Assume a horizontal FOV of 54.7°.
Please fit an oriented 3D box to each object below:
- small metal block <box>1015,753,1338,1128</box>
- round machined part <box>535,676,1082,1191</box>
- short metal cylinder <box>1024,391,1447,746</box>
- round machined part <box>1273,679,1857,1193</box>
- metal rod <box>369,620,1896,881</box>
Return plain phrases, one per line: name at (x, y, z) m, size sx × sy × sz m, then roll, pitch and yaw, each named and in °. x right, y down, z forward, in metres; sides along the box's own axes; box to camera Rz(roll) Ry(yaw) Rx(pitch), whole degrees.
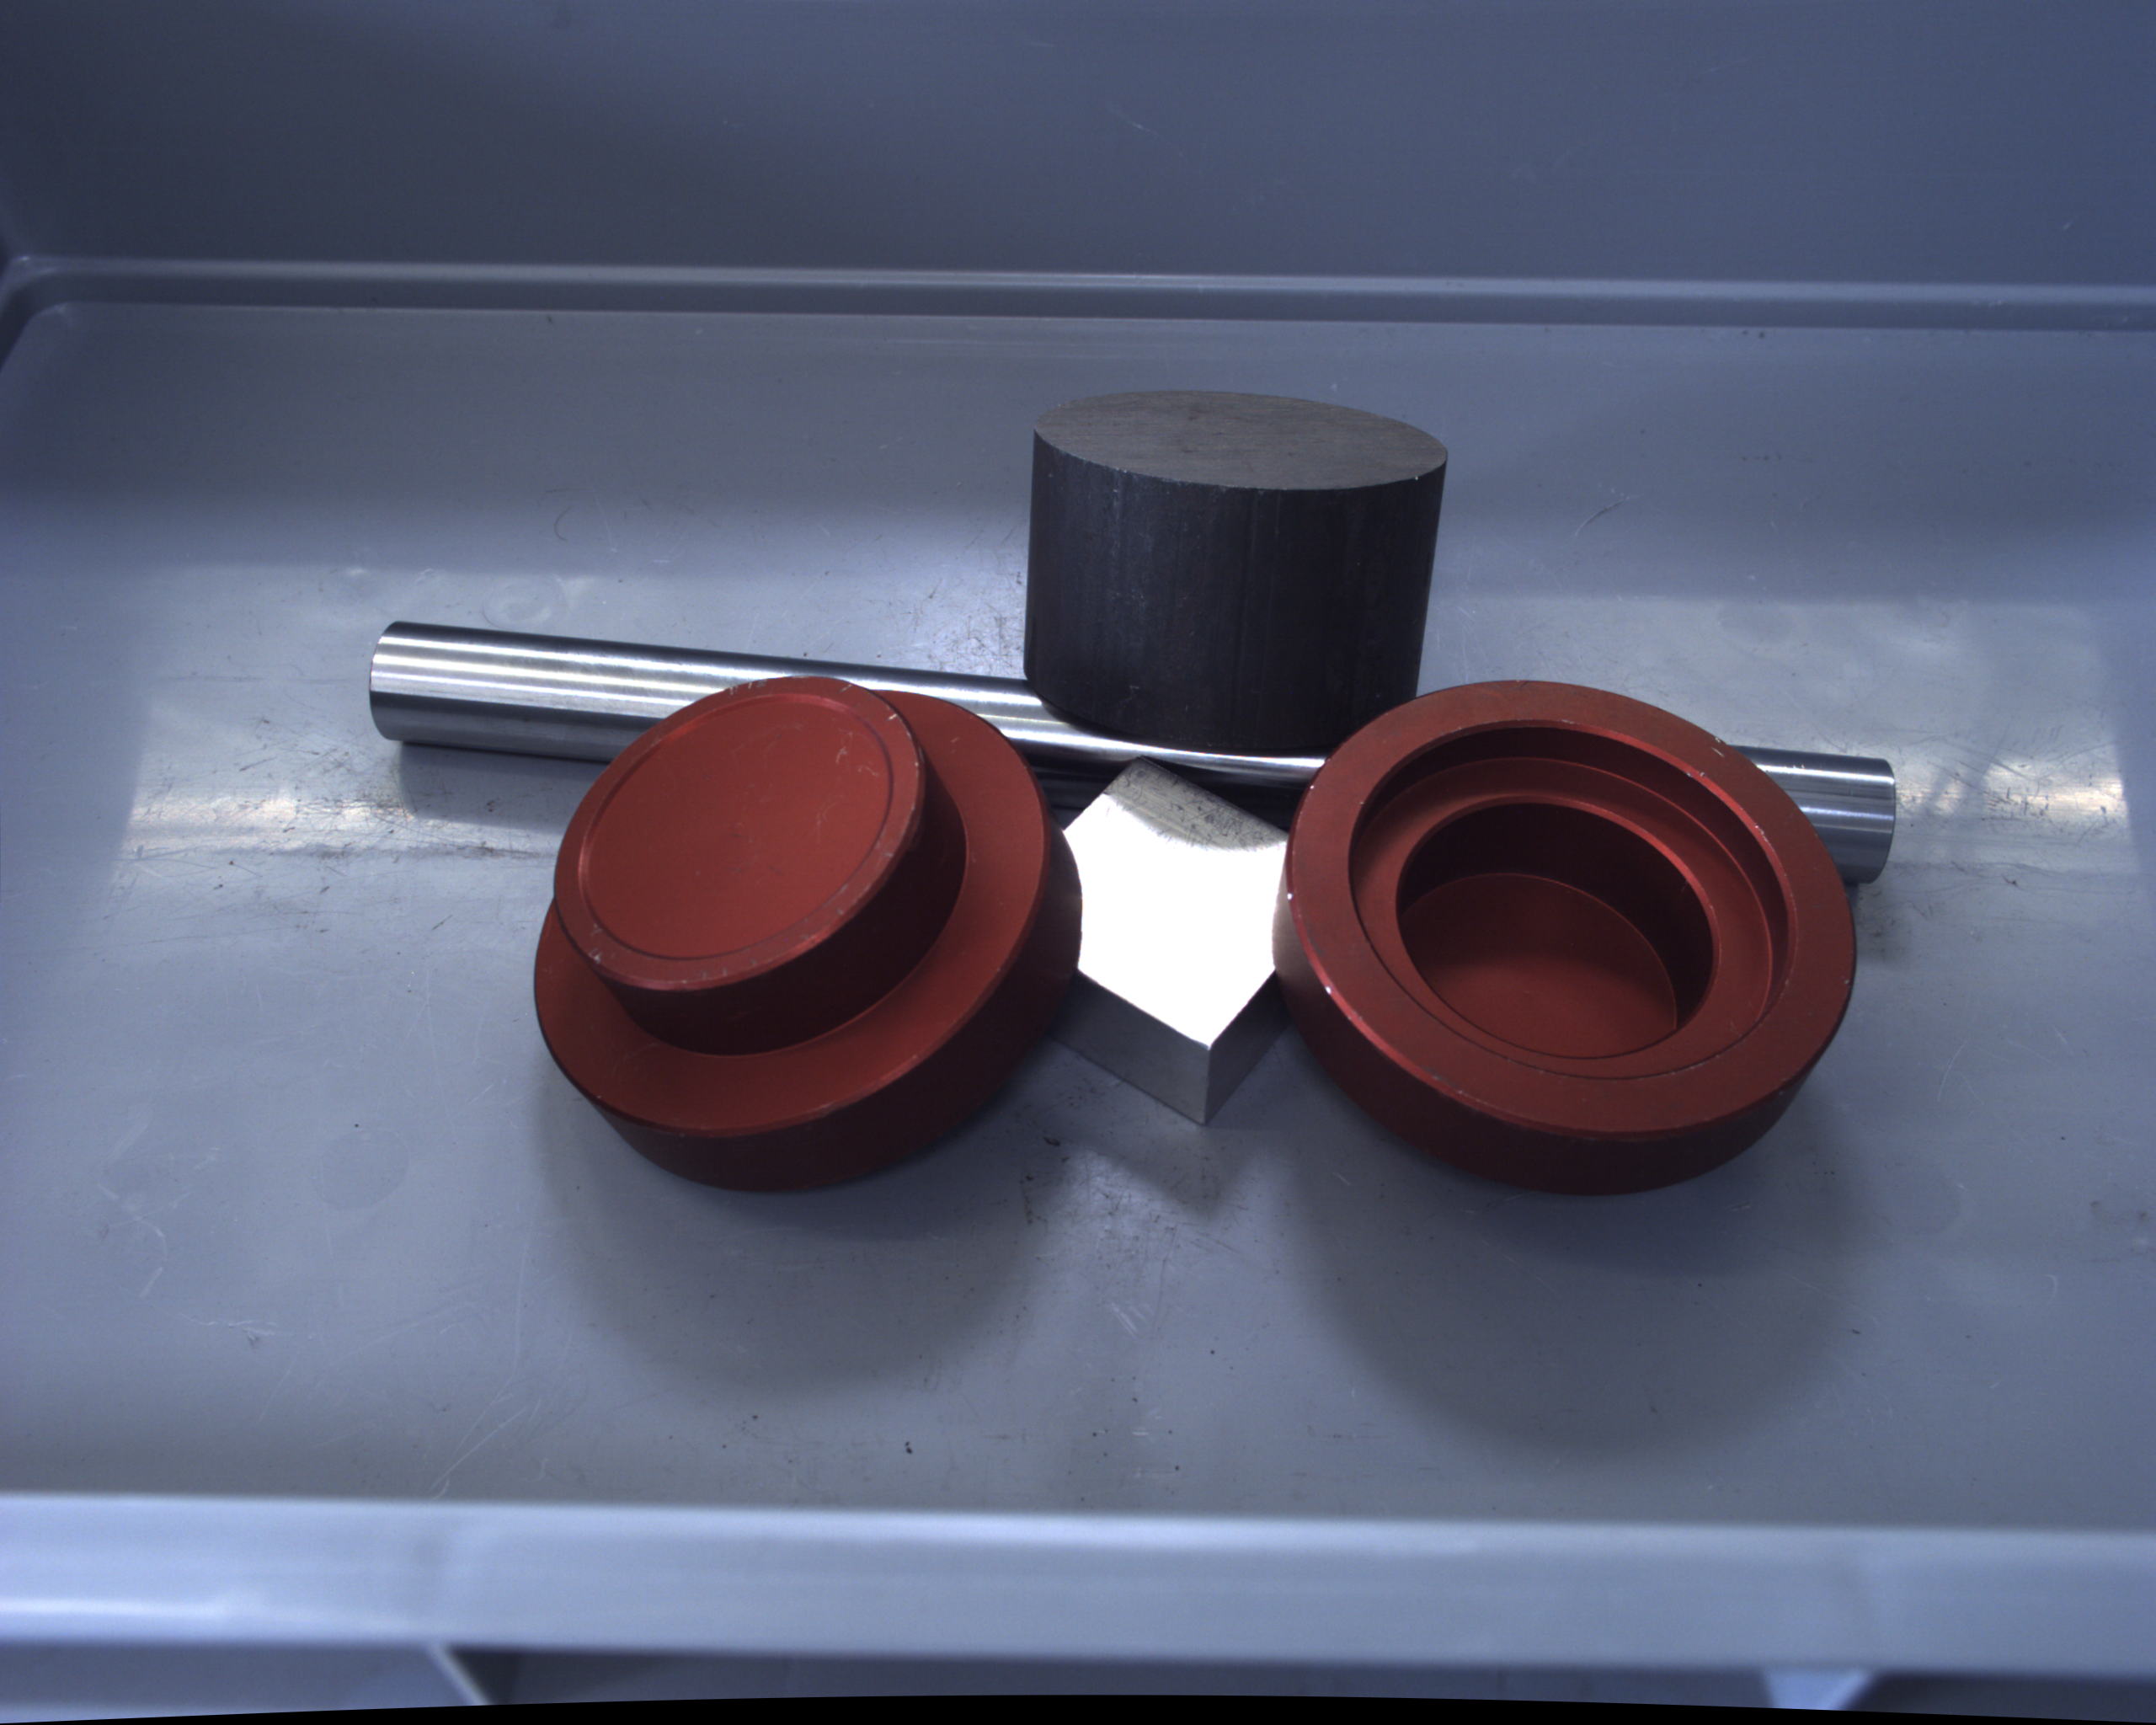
small metal block at (0.018, 0.013, 0.391) m, size 0.050 × 0.025 × 0.050 m, roll 29°, pitch 56°, yaw 22°
round machined part at (-0.052, 0.005, 0.370) m, size 0.098 × 0.042 × 0.098 m, roll -11°, pitch 49°, yaw 14°
short metal cylinder at (0.031, -0.061, 0.419) m, size 0.081 × 0.050 × 0.080 m, roll 3°, pitch 25°, yaw -1°
round machined part at (0.084, 0.017, 0.375) m, size 0.099 × 0.042 × 0.098 m, roll 2°, pitch 52°, yaw -2°
metal rod at (0.008, -0.023, 0.422) m, size 0.302 × 0.025 × 0.025 m, roll 6°, pitch 50°, yaw 4°
